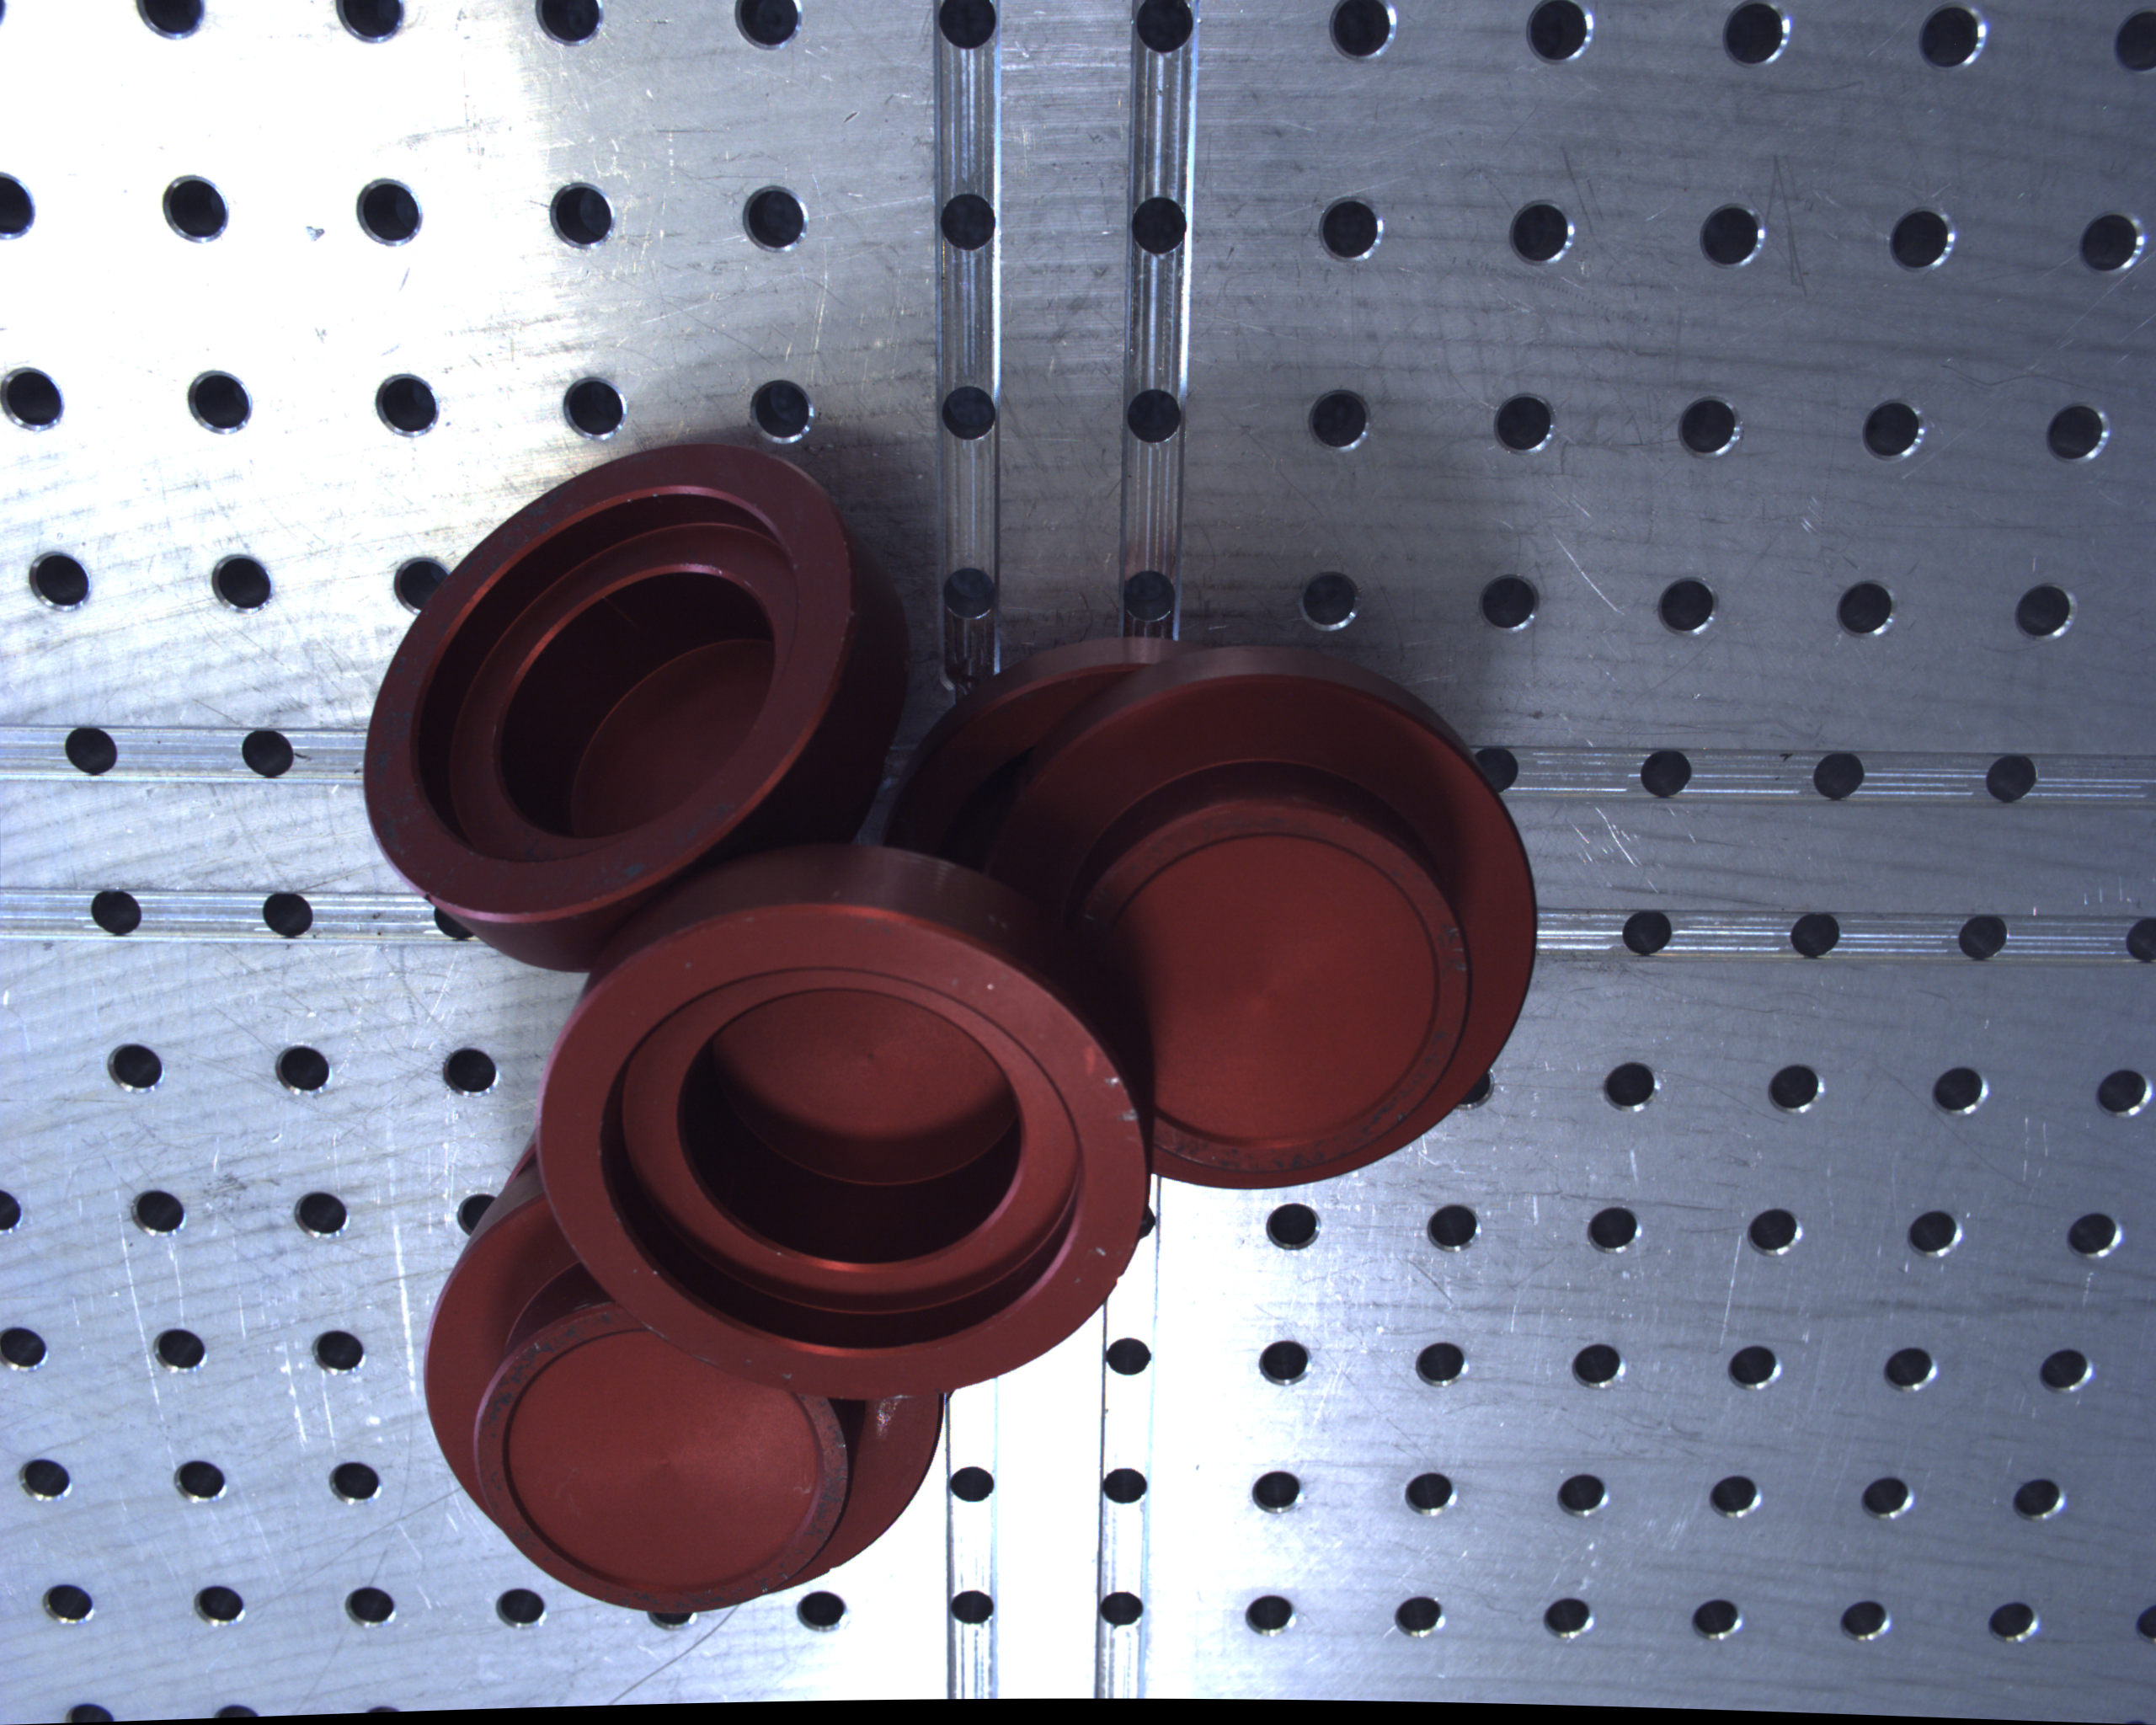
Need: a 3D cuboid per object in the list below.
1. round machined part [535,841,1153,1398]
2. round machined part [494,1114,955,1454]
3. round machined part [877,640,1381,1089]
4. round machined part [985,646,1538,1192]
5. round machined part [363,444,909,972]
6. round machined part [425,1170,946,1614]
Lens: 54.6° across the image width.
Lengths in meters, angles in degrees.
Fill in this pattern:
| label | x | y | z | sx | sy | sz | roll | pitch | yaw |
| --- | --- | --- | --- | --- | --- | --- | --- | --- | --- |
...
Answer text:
| label | x | y | z | sx | sy | sz | roll | pitch | yaw |
| --- | --- | --- | --- | --- | --- | --- | --- | --- | --- |
| round machined part | -0.036 | 0.039 | 0.350 | 0.098 | 0.042 | 0.097 | 1 | 118 | 2 |
| round machined part | -0.067 | 0.085 | 0.413 | 0.099 | 0.042 | 0.097 | 0 | 110 | 0 |
| round machined part | 0.010 | 0.011 | 0.386 | 0.099 | 0.042 | 0.097 | 0 | 110 | 0 |
| round machined part | 0.031 | 0.015 | 0.364 | 0.099 | 0.042 | 0.097 | 0 | 110 | 0 |
| round machined part | -0.074 | -0.024 | 0.375 | 0.098 | 0.098 | 0.042 | -26 | 143 | 9 |
| round machined part | -0.074 | 0.101 | 0.396 | 0.099 | 0.042 | 0.097 | 0 | 110 | 0 |
